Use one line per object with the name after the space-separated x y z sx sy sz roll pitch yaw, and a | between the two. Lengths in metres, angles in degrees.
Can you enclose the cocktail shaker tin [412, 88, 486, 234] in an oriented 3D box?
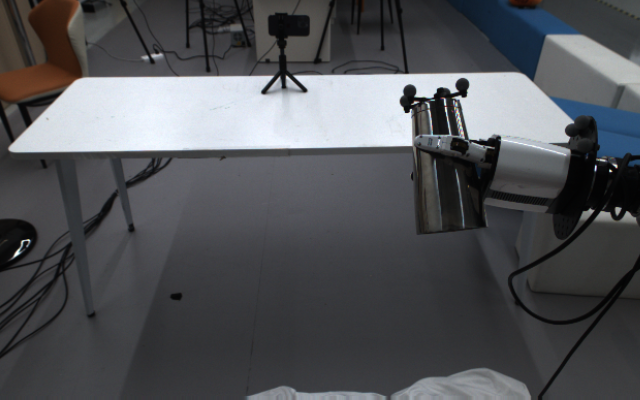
0.166 -0.044 0.647 0.093 0.170 0.093 -6 -7 -1 | cocktail shaker tin
